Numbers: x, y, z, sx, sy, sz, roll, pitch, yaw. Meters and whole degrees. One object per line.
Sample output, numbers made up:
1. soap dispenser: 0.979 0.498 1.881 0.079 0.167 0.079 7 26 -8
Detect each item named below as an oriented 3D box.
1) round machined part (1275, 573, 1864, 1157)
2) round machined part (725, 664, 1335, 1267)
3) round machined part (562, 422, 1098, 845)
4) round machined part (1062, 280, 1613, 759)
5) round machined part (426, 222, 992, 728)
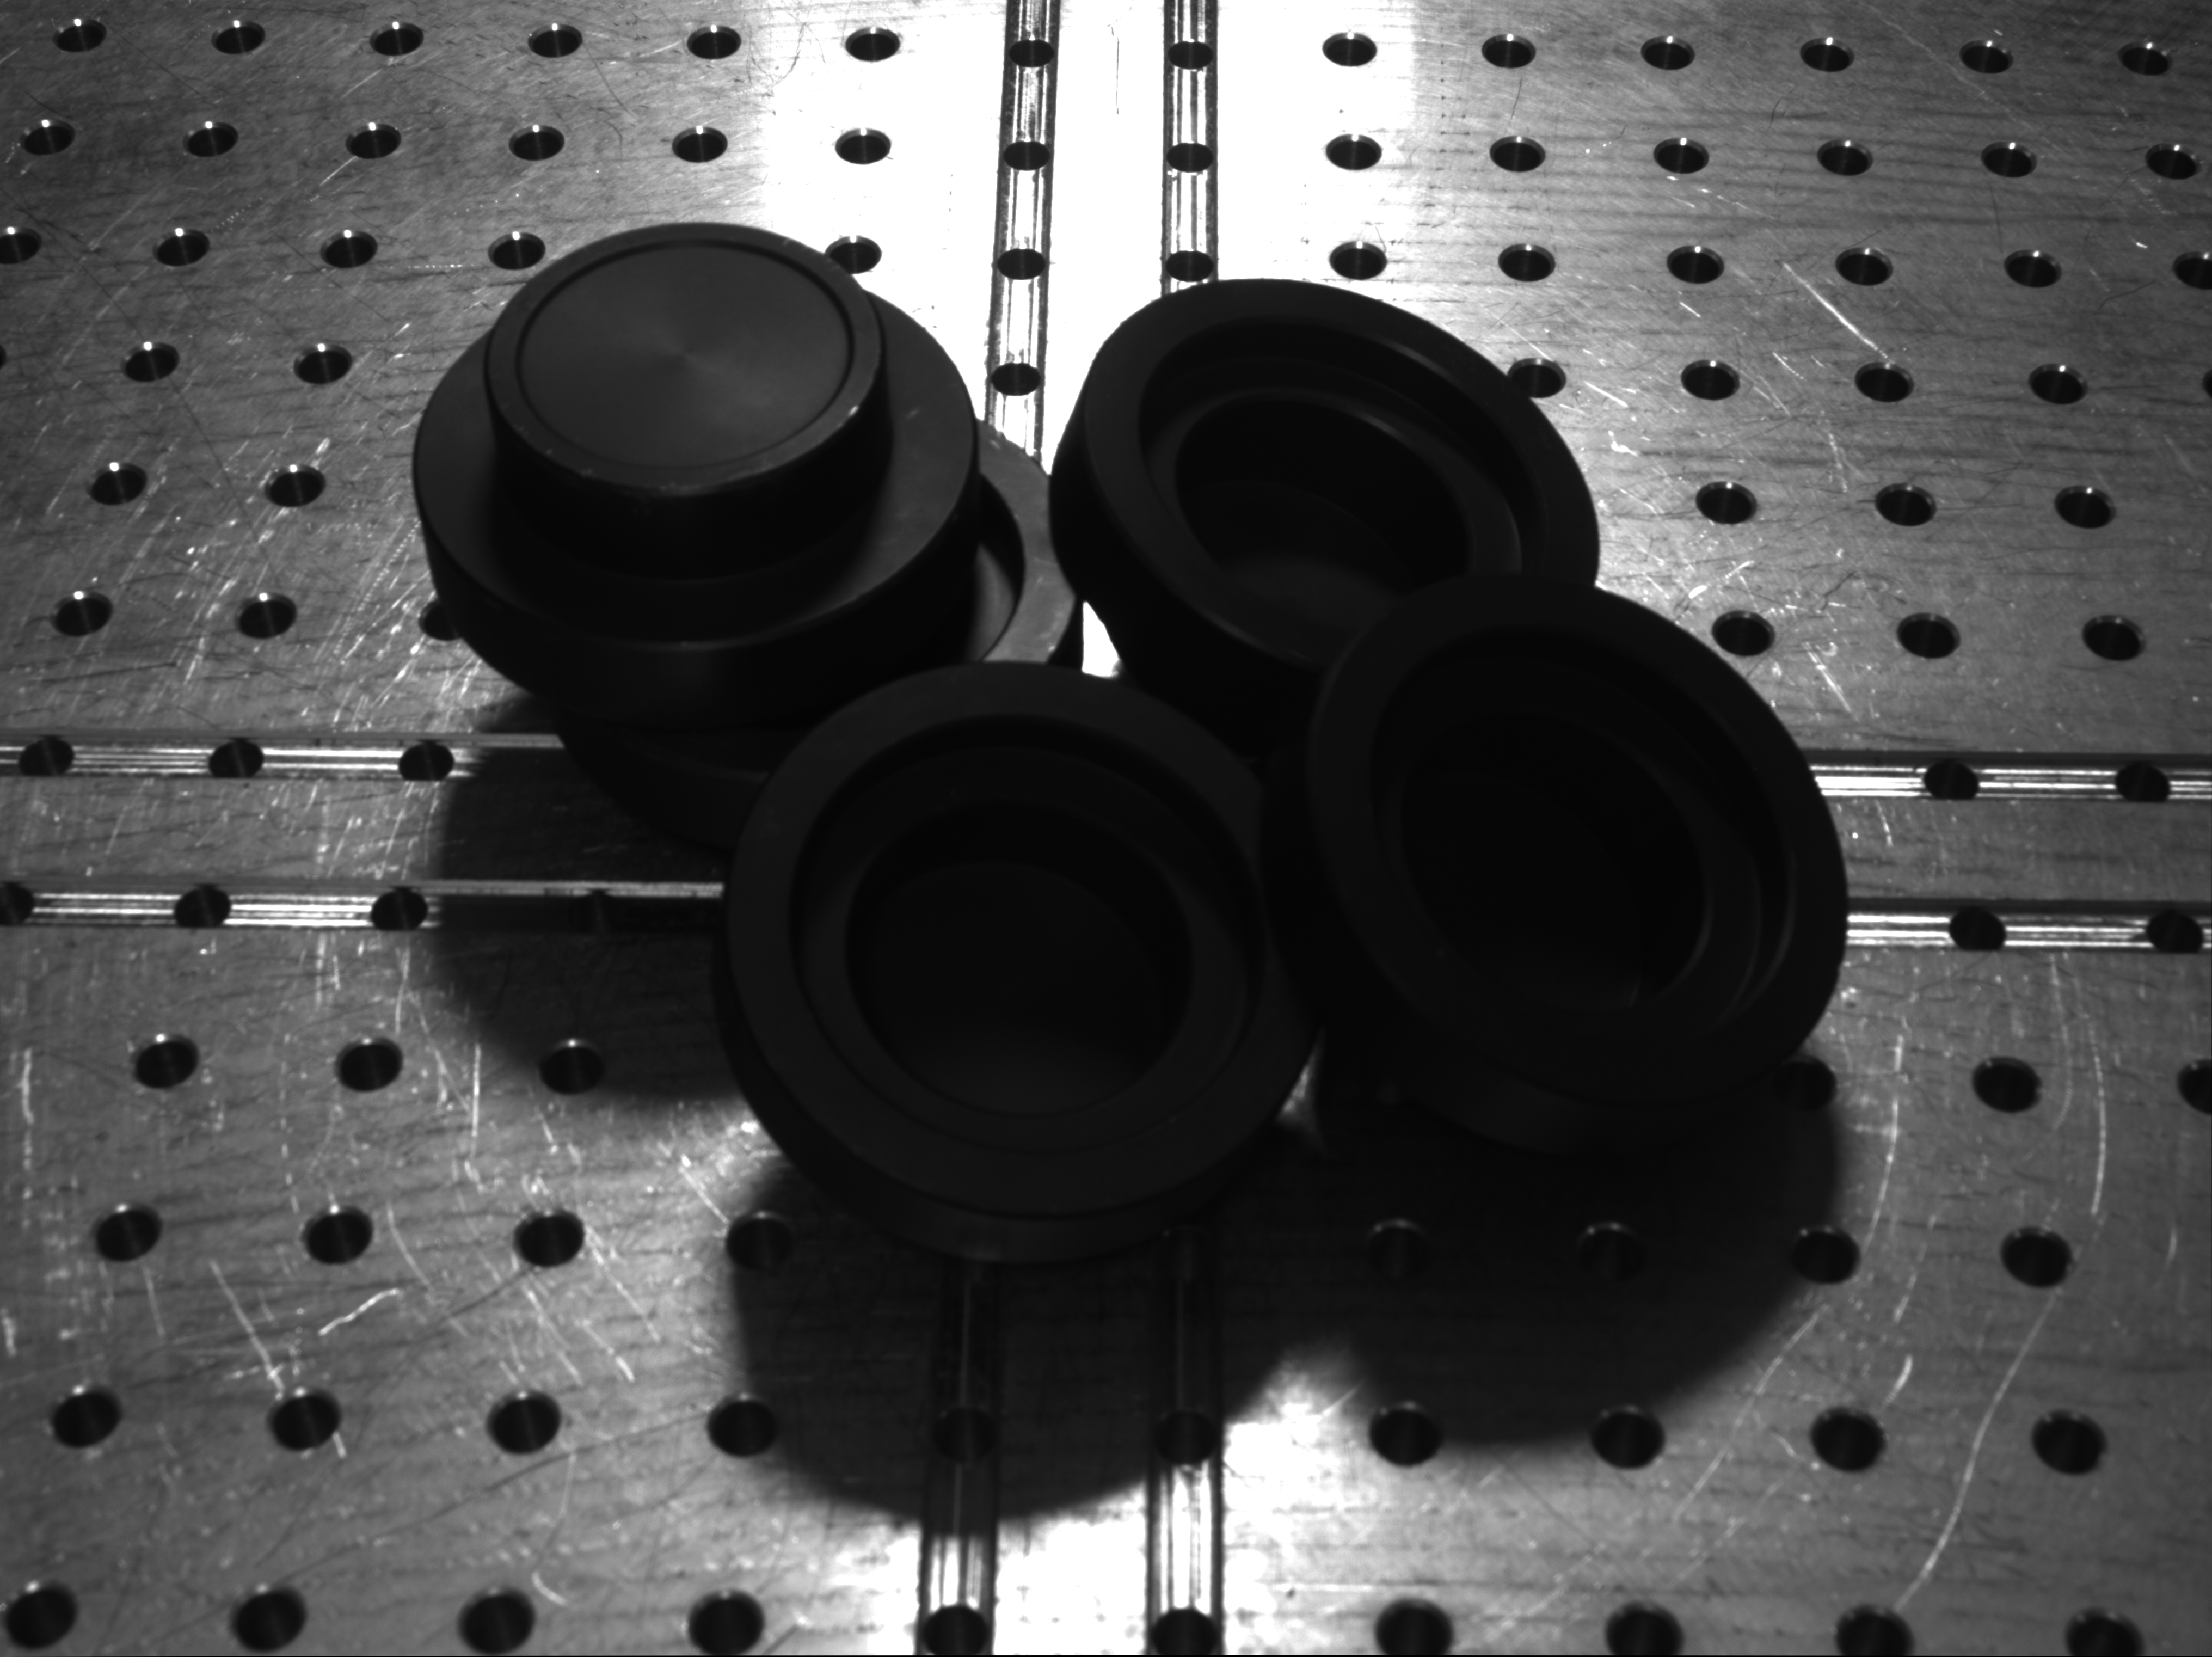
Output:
1. round machined part: 0.073 0.010 0.610 0.098 0.042 0.098 11 59 -18
2. round machined part: -0.014 0.026 0.601 0.098 0.042 0.098 4 64 -9
3. round machined part: -0.050 -0.032 0.660 0.098 0.042 0.098 0 50 0
4. round machined part: 0.039 -0.051 0.665 0.098 0.042 0.098 10 50 -12
5. round machined part: -0.069 -0.067 0.635 0.098 0.042 0.098 0 50 0
